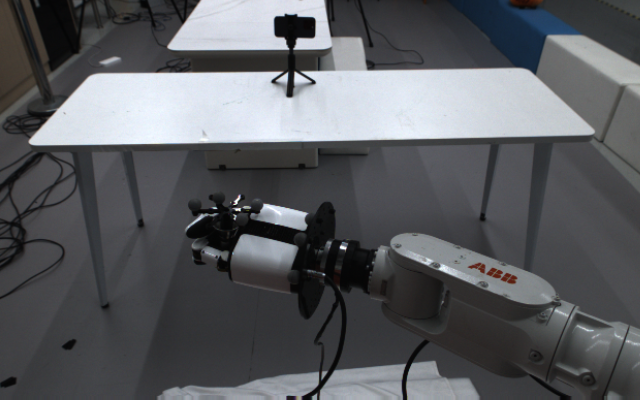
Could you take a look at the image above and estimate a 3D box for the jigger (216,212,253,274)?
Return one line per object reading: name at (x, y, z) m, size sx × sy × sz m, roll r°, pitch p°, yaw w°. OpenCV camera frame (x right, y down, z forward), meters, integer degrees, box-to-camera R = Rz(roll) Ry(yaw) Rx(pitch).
jigger at (-0.125, 0.057, 0.678) m, size 0.043 × 0.071 × 0.043 m, roll 4°, pitch 31°, yaw -2°
